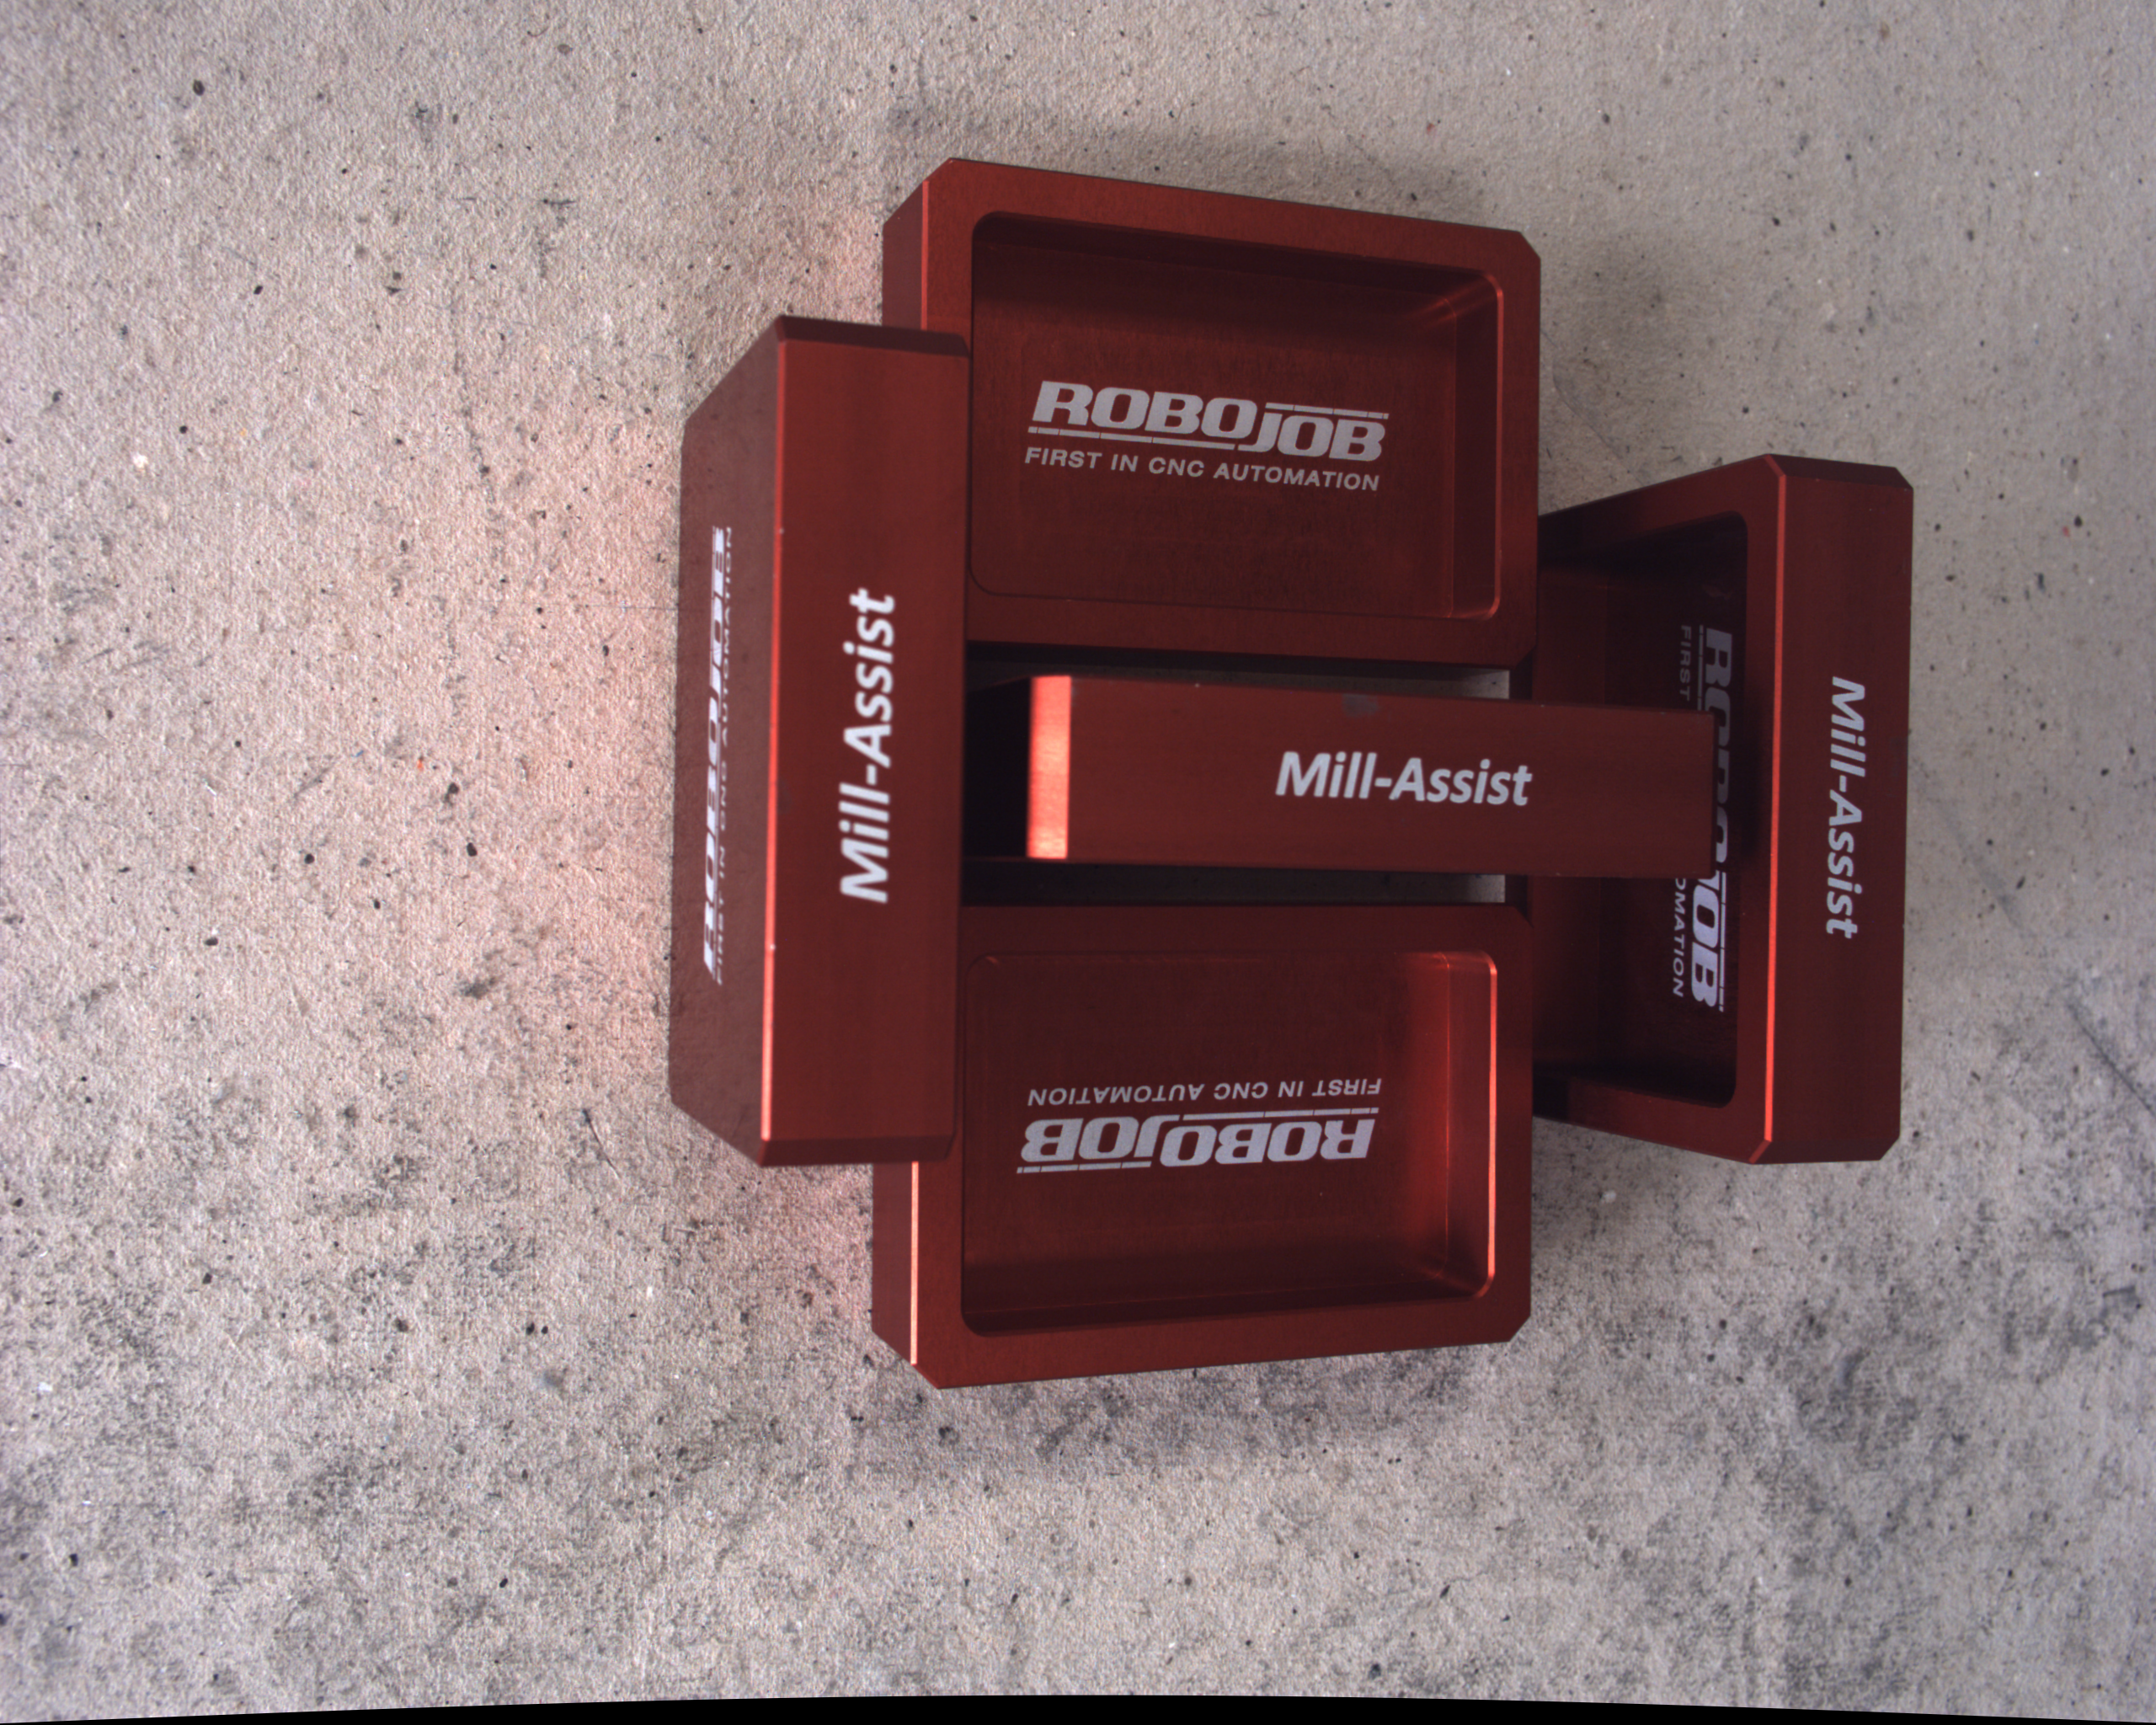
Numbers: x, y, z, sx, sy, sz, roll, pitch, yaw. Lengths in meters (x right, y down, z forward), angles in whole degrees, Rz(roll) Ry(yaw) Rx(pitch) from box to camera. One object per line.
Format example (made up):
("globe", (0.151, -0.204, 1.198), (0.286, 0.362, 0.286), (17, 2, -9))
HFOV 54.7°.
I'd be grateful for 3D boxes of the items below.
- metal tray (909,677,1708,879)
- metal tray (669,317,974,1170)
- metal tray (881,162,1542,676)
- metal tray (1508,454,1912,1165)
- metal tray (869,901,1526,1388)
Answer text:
("metal tray", (0.038, -0.014, 0.391), (0.131, 0.090, 0.030), (1, 91, -20))
("metal tray", (-0.047, -0.018, 0.358), (0.030, 0.090, 0.129), (1, 90, -21))
("metal tray", (0.027, -0.084, 0.417), (0.131, 0.030, 0.089), (0, 93, -20))
("metal tray", (0.124, -0.010, 0.421), (0.030, 0.090, 0.129), (1, 90, -20))
("metal tray", (0.026, 0.053, 0.418), (0.131, 0.030, 0.089), (1, 89, -20))
